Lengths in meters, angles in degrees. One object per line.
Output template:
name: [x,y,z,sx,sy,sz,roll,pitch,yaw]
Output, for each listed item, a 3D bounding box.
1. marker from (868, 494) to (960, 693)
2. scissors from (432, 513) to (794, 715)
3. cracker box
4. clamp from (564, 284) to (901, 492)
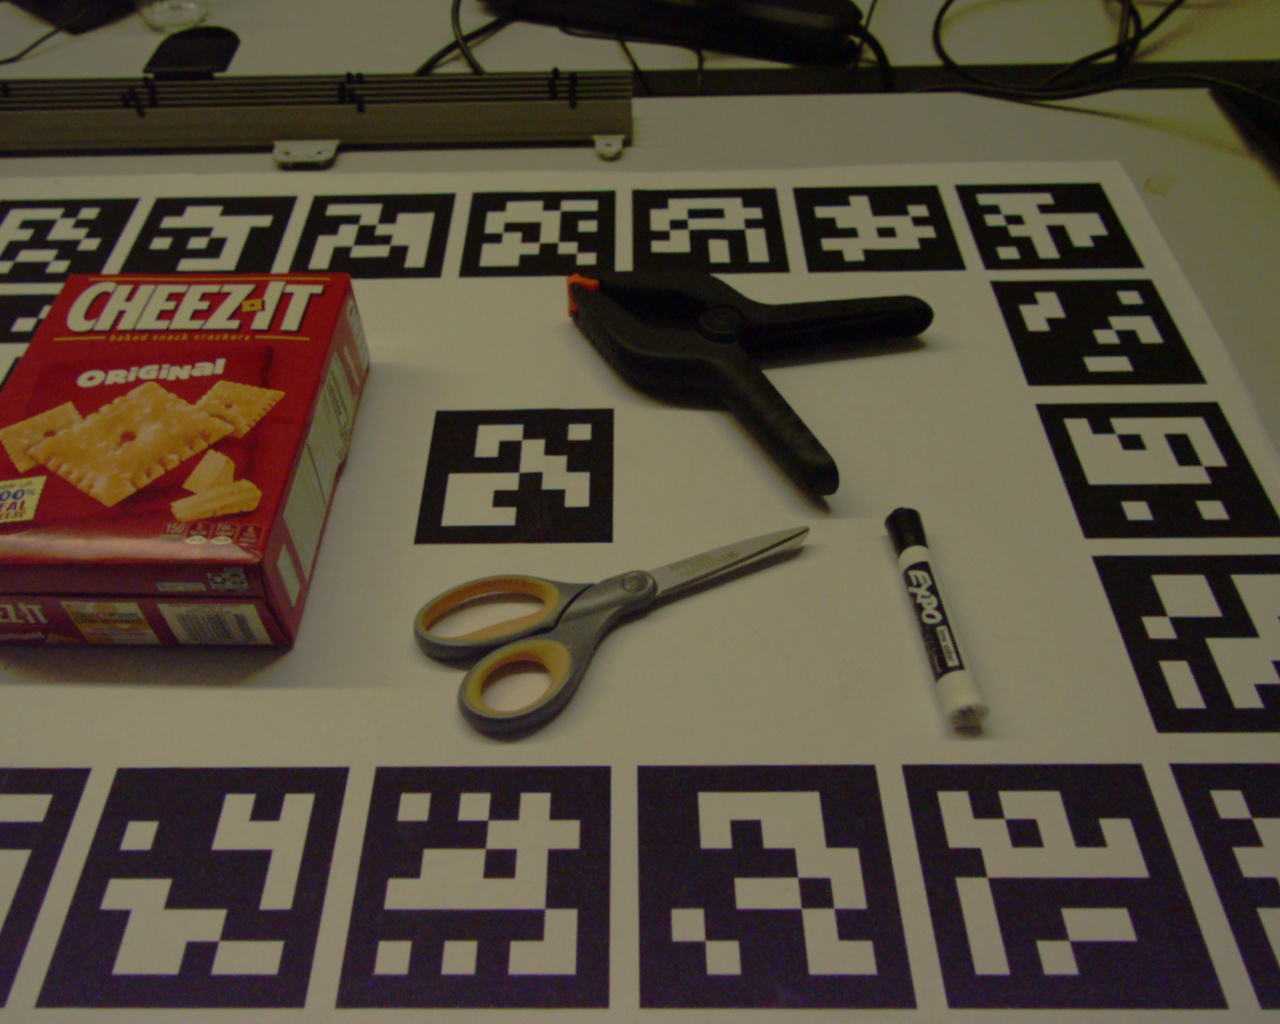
marker: [0.136,0.036,0.574,0.019,0.019,0.122,-4,46,-2]
scissors: [-0.007,0.035,0.580,0.201,0.016,0.089,-22,49,-21]
cracker box: [-0.241,-0.038,0.622,0.164,0.072,0.214,0,47,1]
clamp: [0.040,-0.100,0.712,0.205,0.036,0.164,22,50,20]
